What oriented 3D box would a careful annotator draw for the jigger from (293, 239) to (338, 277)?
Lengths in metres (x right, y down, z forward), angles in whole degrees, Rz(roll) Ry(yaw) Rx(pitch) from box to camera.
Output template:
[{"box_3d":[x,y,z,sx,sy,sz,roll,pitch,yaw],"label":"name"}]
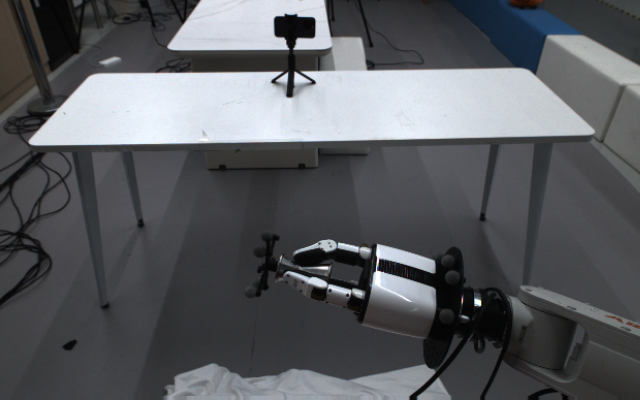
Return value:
[{"box_3d":[-0.014,0.094,0.638,0.071,0.043,0.043,12,36,5],"label":"jigger"}]
